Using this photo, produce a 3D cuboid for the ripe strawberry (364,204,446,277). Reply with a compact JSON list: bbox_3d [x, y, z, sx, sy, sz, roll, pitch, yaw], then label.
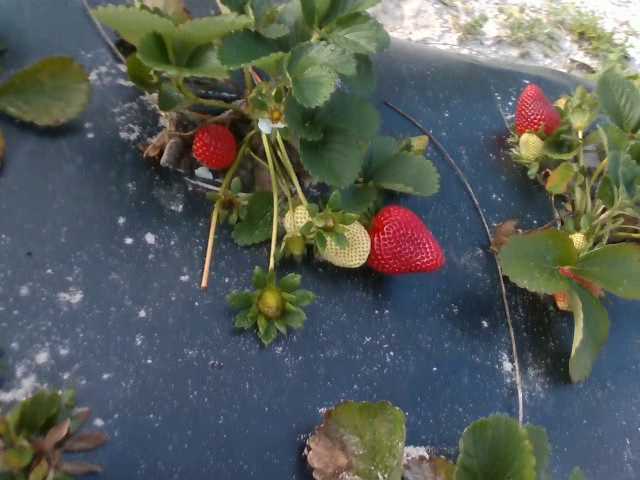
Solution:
[{"bbox_3d":[0.060,0.008,0.403,0.055,0.051,0.048,36,1,34],"label":"ripe strawberry"}]
